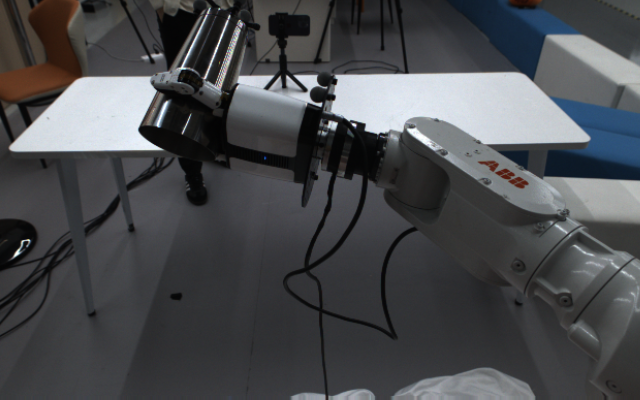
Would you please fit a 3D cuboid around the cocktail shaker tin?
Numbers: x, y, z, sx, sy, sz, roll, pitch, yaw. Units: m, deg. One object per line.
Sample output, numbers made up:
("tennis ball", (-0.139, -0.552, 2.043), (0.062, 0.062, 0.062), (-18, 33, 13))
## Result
("cocktail shaker tin", (-0.144, -0.141, 0.588), (0.093, 0.093, 0.170), (12, 74, 14))
